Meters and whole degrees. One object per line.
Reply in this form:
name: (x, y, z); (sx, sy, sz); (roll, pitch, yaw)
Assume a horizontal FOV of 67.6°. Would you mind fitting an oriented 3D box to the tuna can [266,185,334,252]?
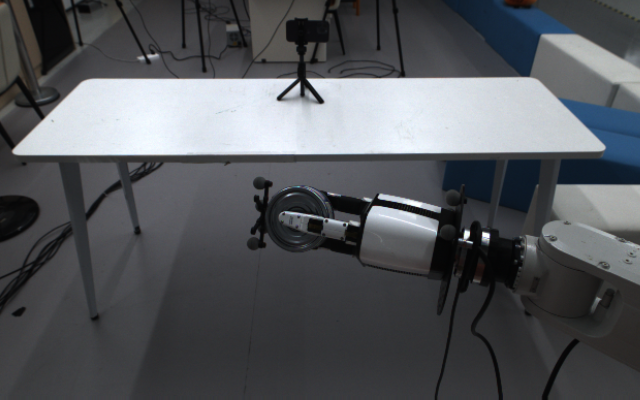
tuna can: (-0.023, 0.027, 0.618); (0.085, 0.085, 0.034); (10, 2, 11)
